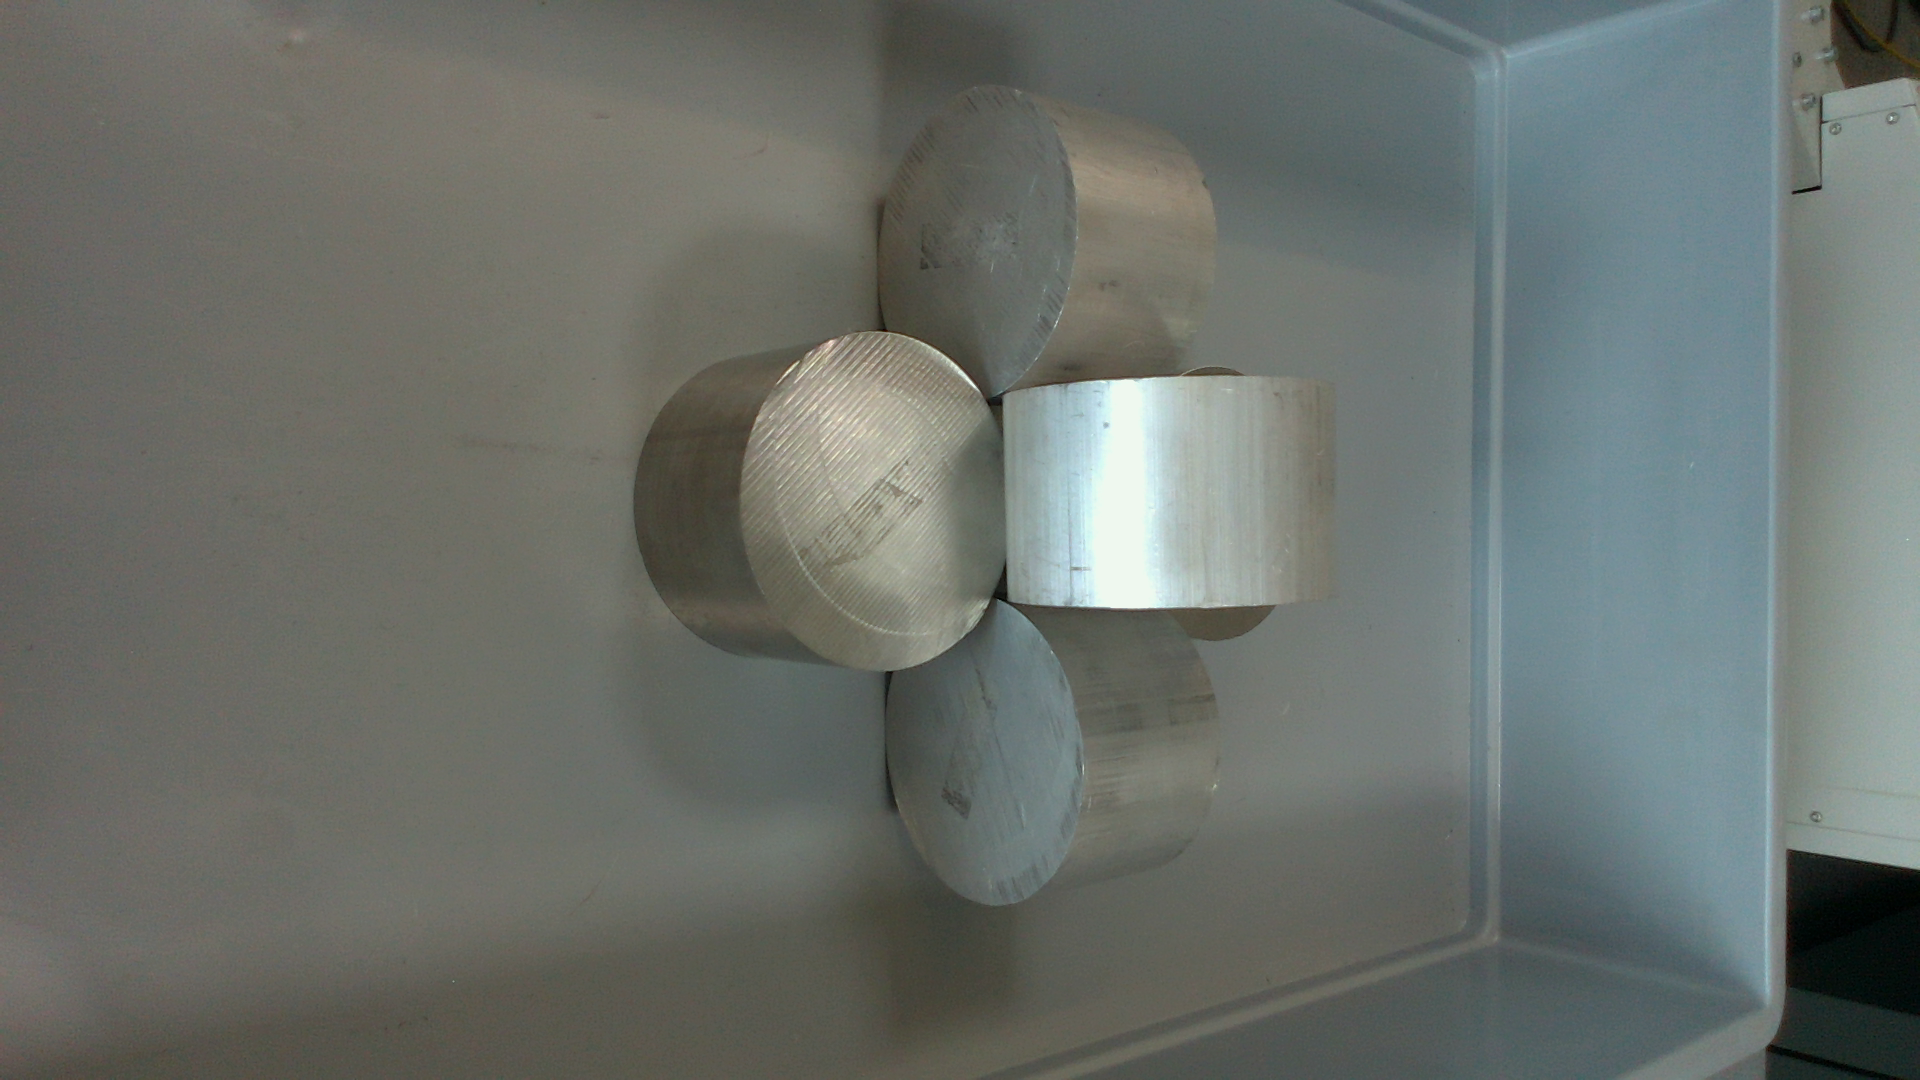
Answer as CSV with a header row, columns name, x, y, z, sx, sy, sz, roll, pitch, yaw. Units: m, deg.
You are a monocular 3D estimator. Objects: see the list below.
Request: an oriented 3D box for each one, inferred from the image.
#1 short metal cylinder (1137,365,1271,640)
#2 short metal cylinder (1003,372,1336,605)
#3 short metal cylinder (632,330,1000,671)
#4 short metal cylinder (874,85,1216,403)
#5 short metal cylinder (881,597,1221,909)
name,x,y,z,sx,sy,sz,roll,pitch,yaw
short metal cylinder,0.060,-0.011,0.420,0.080,0.050,0.080,0,90,-40
short metal cylinder,0.050,-0.011,0.336,0.080,0.080,0.050,-1,91,-40
short metal cylinder,-0.034,-0.009,0.343,0.080,0.050,0.080,0,90,-40
short metal cylinder,0.021,-0.076,0.368,0.050,0.080,0.080,-2,92,-40
short metal cylinder,0.023,0.053,0.370,0.050,0.080,0.080,-2,92,-40
